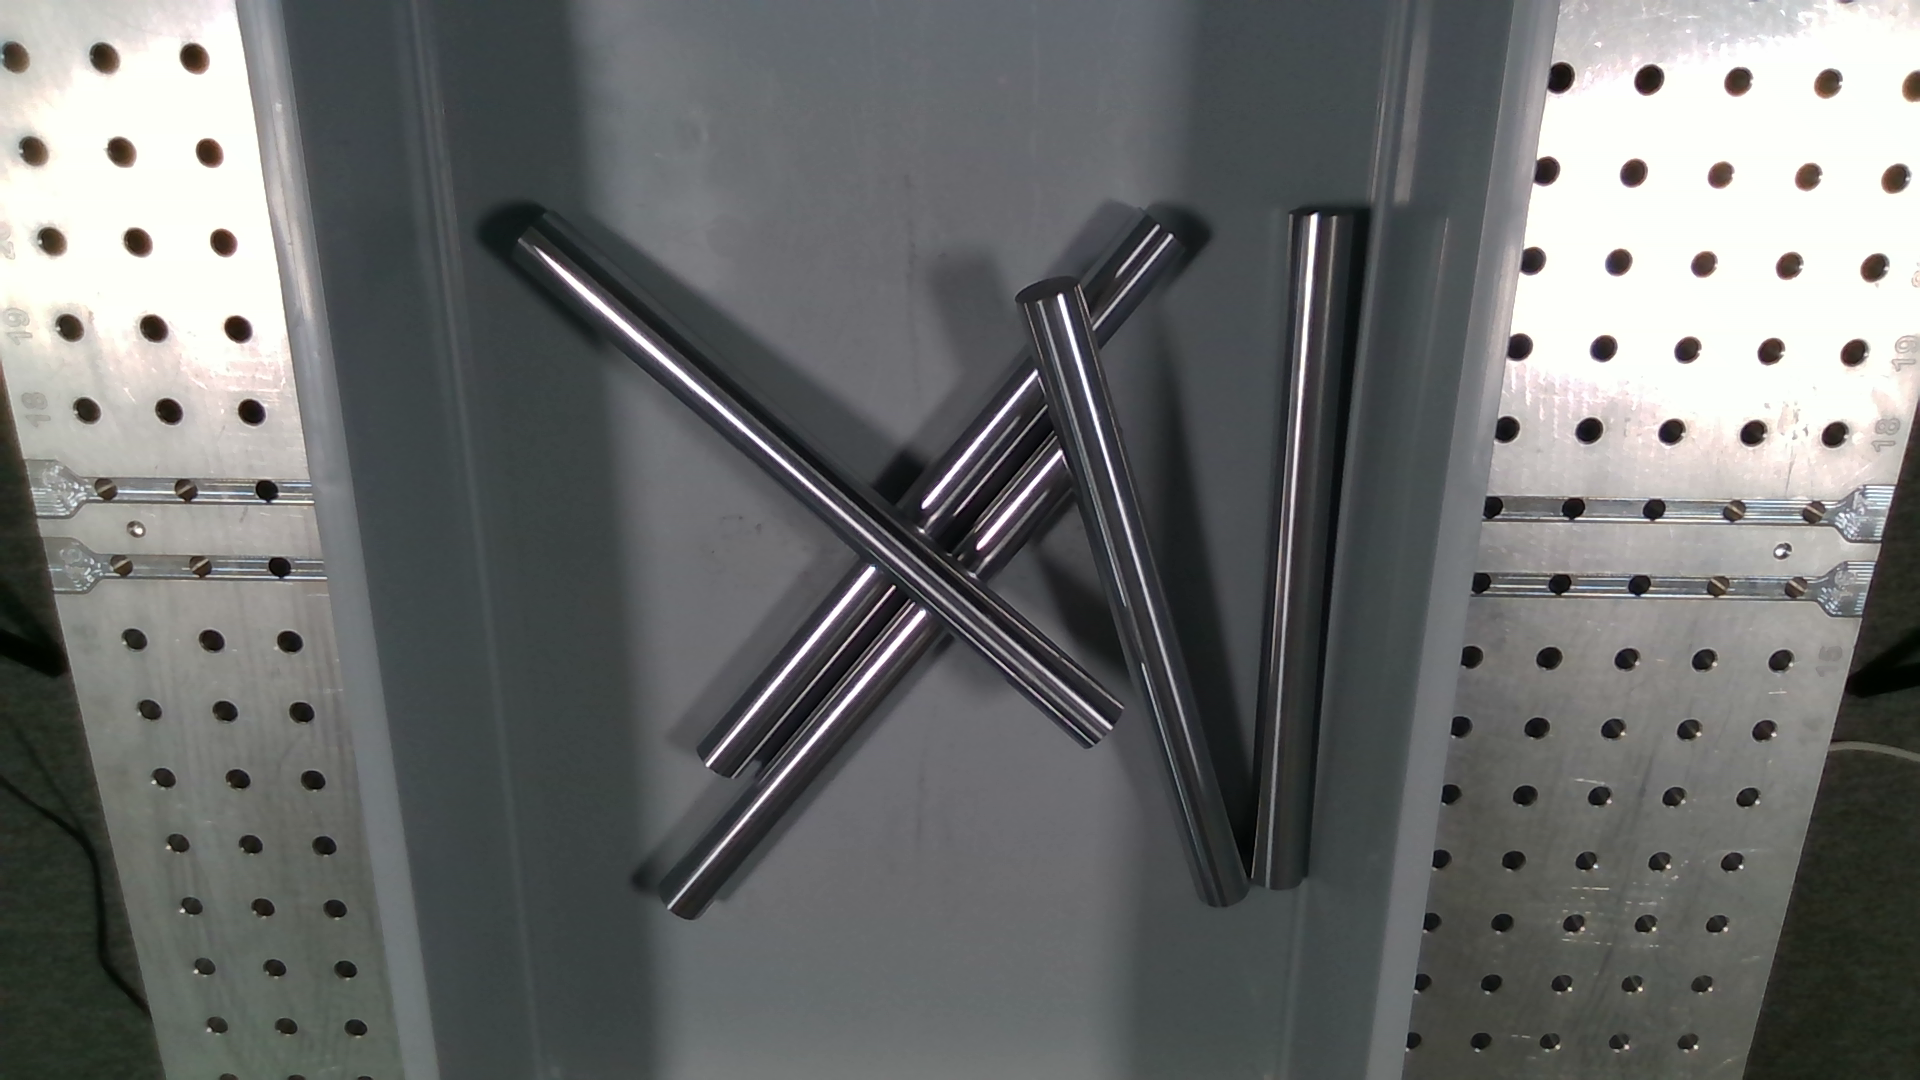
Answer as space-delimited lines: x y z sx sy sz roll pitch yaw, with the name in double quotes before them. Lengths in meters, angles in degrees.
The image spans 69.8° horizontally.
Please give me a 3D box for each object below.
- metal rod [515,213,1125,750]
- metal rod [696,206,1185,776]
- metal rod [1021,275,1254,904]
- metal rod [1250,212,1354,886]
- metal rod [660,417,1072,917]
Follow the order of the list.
"metal rod" -0.053 -0.021 0.555 0.300 0.025 0.025 41 105 -5
"metal rod" -0.015 -0.013 0.579 0.025 0.025 0.300 37 106 -12
"metal rod" 0.081 0.033 0.580 0.025 0.025 0.301 -17 115 6
"metal rod" 0.143 0.013 0.589 0.025 0.025 0.301 -1 110 0
"metal rod" -0.037 0.057 0.605 0.025 0.025 0.300 37 106 -12
